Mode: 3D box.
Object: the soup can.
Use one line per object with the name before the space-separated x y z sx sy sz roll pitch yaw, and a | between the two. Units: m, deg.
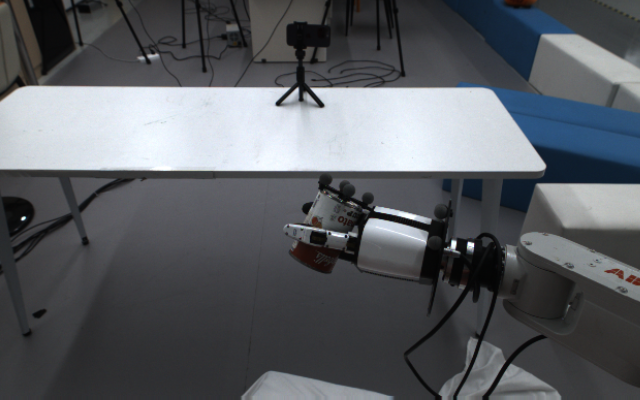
soup can | 0.009 0.043 0.675 0.067 0.101 0.067 26 5 -3
